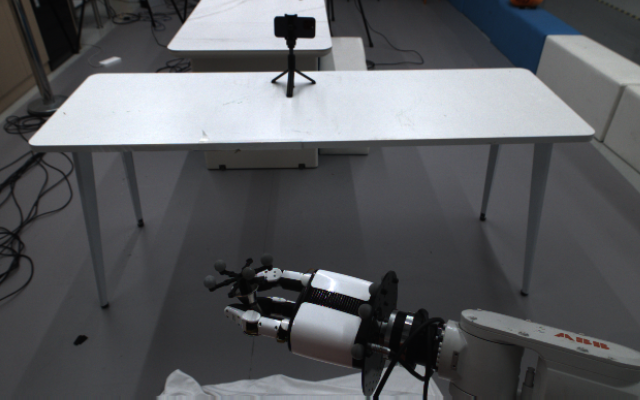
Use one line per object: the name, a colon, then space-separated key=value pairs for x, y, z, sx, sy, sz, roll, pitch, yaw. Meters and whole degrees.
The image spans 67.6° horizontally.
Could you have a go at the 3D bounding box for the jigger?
jigger: x=-0.095 y=0.149 z=0.678 sx=0.043 sy=0.071 sz=0.043 roll=-11 pitch=24 yaw=5
